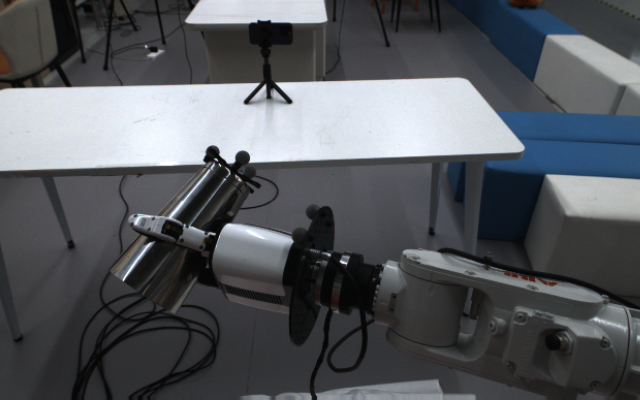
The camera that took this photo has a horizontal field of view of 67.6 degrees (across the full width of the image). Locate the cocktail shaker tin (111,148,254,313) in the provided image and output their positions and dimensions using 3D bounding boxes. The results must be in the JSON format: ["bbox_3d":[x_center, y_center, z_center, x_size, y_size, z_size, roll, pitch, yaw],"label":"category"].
[{"bbox_3d":[-0.160,0.036,0.583,0.093,0.093,0.170,24,69,29],"label":"cocktail shaker tin"}]
